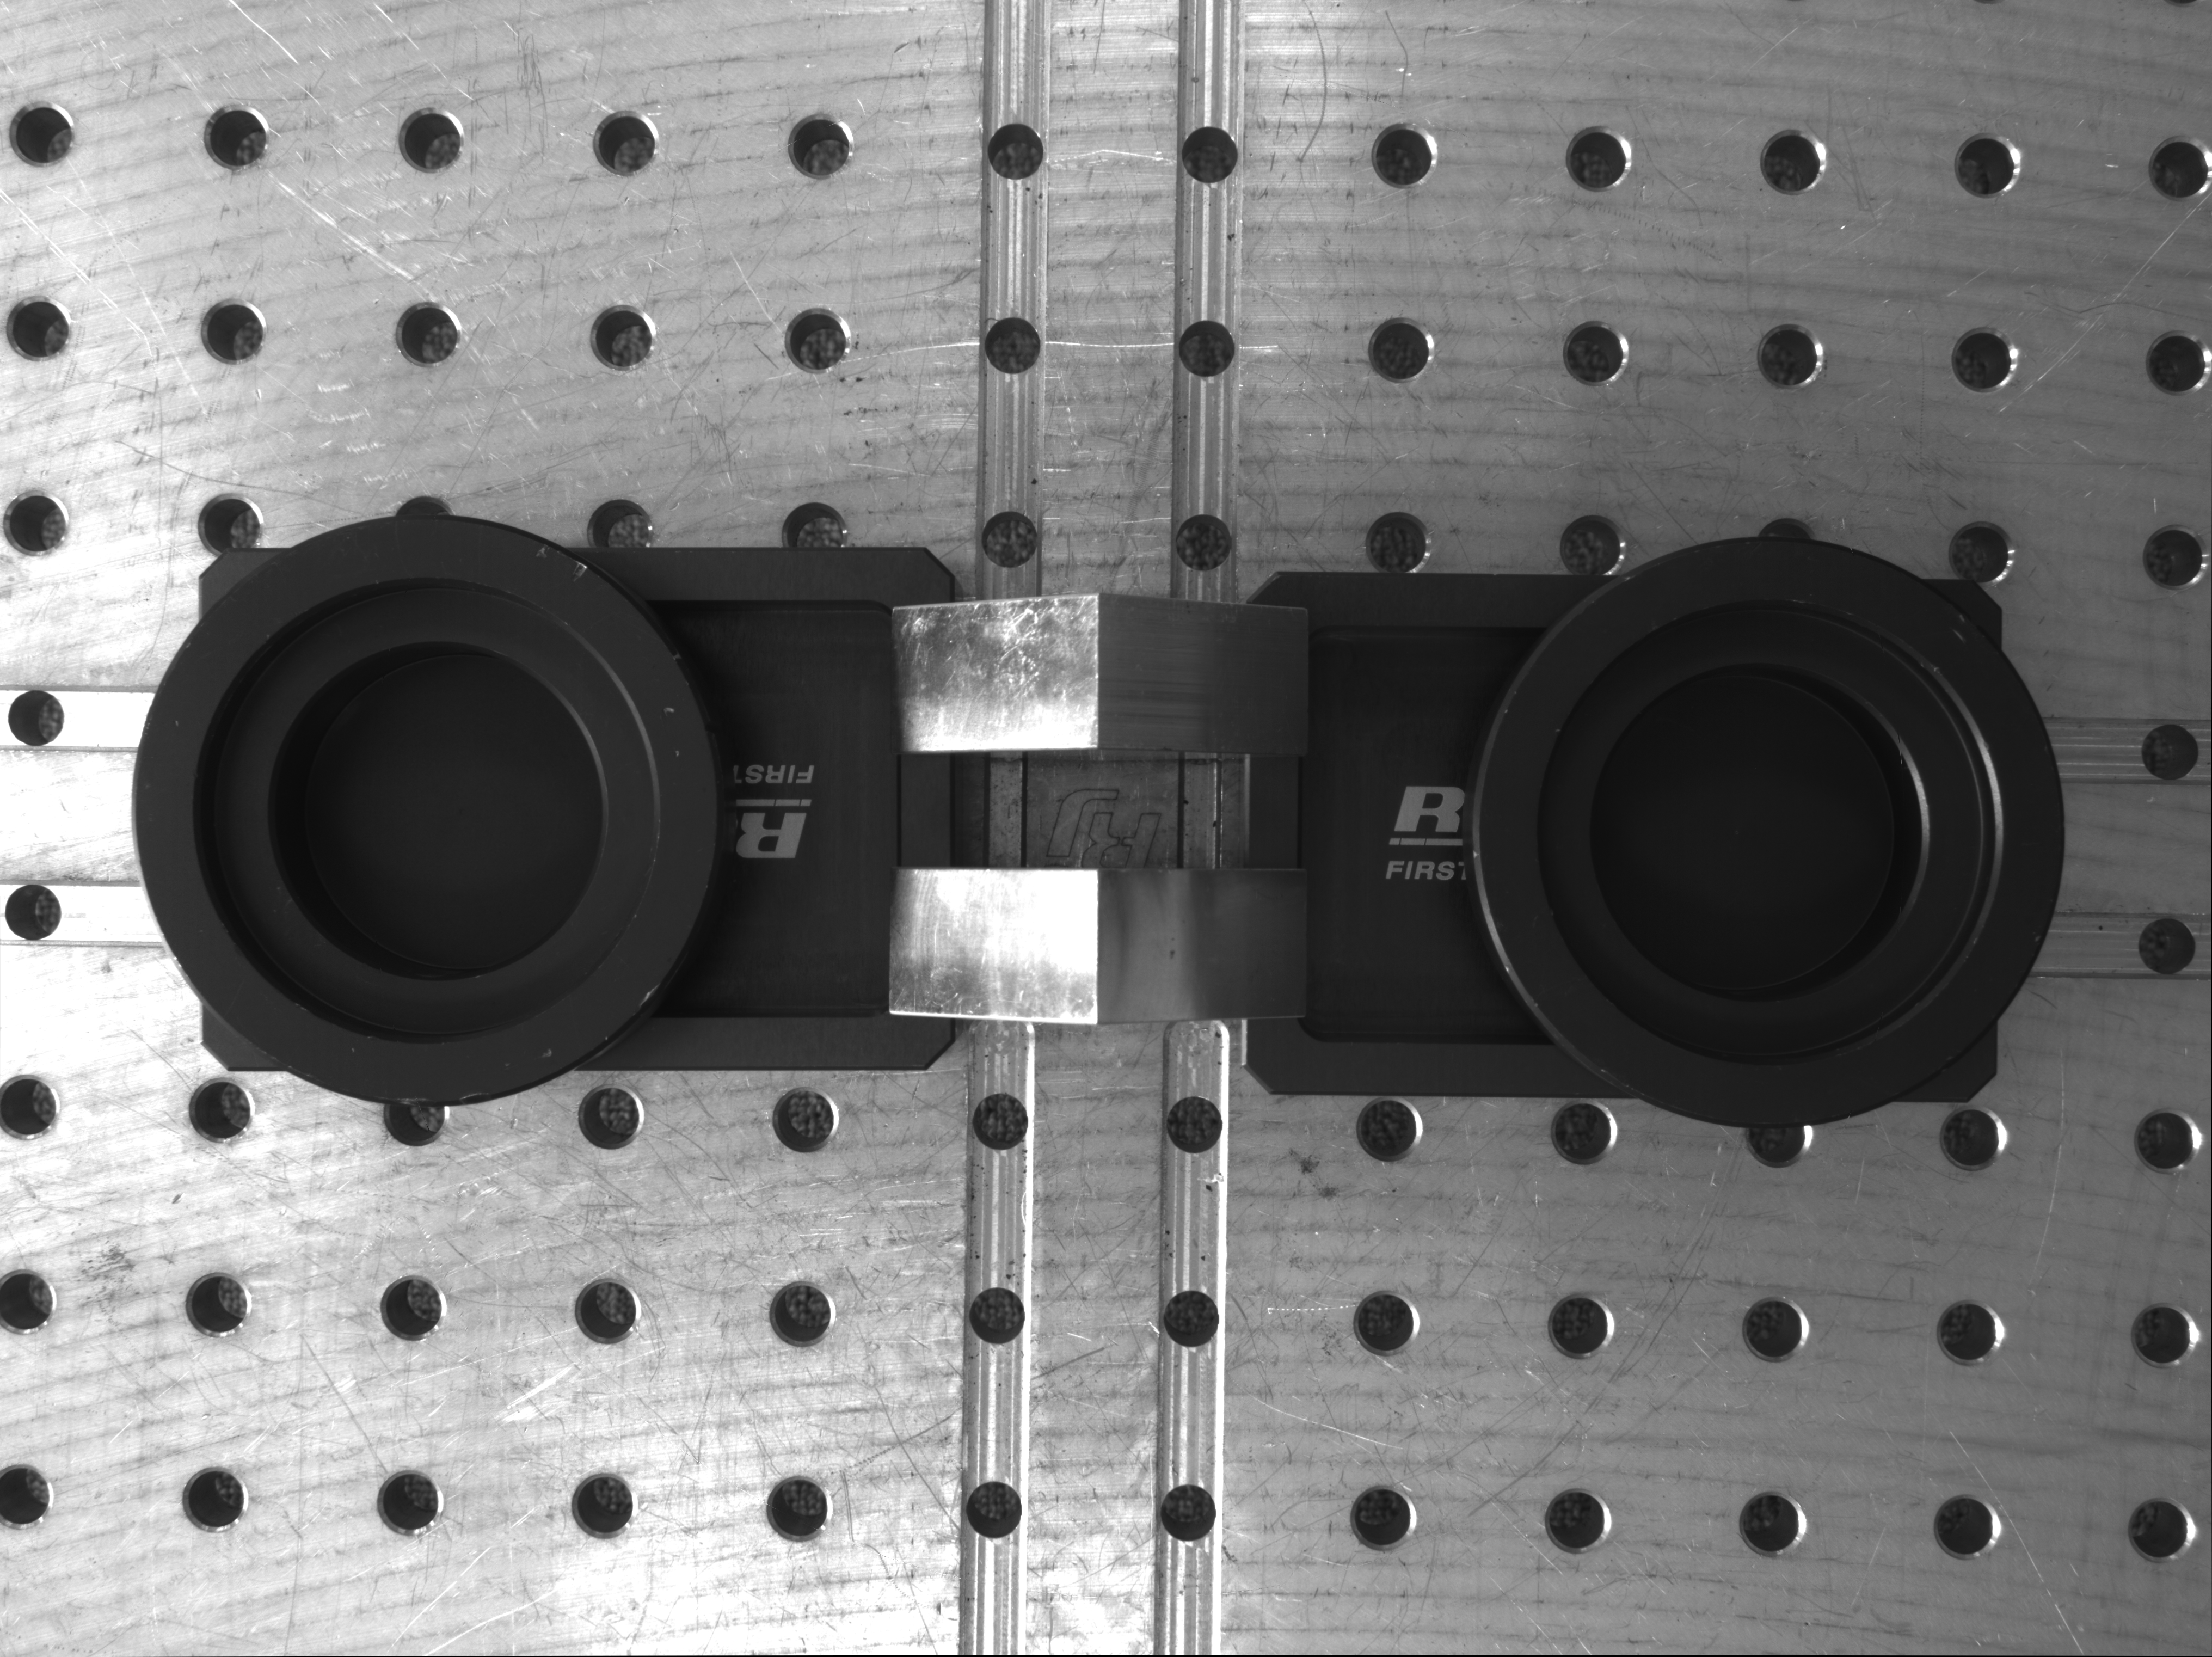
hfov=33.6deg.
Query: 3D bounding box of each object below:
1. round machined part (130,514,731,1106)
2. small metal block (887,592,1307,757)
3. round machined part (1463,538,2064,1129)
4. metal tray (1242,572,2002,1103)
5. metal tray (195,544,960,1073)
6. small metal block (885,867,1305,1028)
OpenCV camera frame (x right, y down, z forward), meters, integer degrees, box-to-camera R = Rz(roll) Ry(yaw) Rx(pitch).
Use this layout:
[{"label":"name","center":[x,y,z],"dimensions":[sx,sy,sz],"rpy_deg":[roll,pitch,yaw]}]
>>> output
[{"label":"round machined part","center":[-0.112,-0.003,0.626],"dimensions":[0.098,0.042,0.098],"rpy_deg":[0,90,0]},{"label":"small metal block","center":[-0.001,-0.025,0.621],"dimensions":[0.050,0.050,0.025],"rpy_deg":[1,90,45]},{"label":"round machined part","center":[0.110,0.001,0.627],"dimensions":[0.098,0.042,0.098],"rpy_deg":[0,90,0]},{"label":"metal tray","center":[0.089,0.002,0.646],"dimensions":[0.130,0.030,0.090],"rpy_deg":[1,90,0]},{"label":"metal tray","center":[-0.091,-0.004,0.646],"dimensions":[0.130,0.030,0.090],"rpy_deg":[-1,92,0]},{"label":"small metal block","center":[-0.002,0.019,0.620],"dimensions":[0.050,0.050,0.025],"rpy_deg":[1,90,45]}]
